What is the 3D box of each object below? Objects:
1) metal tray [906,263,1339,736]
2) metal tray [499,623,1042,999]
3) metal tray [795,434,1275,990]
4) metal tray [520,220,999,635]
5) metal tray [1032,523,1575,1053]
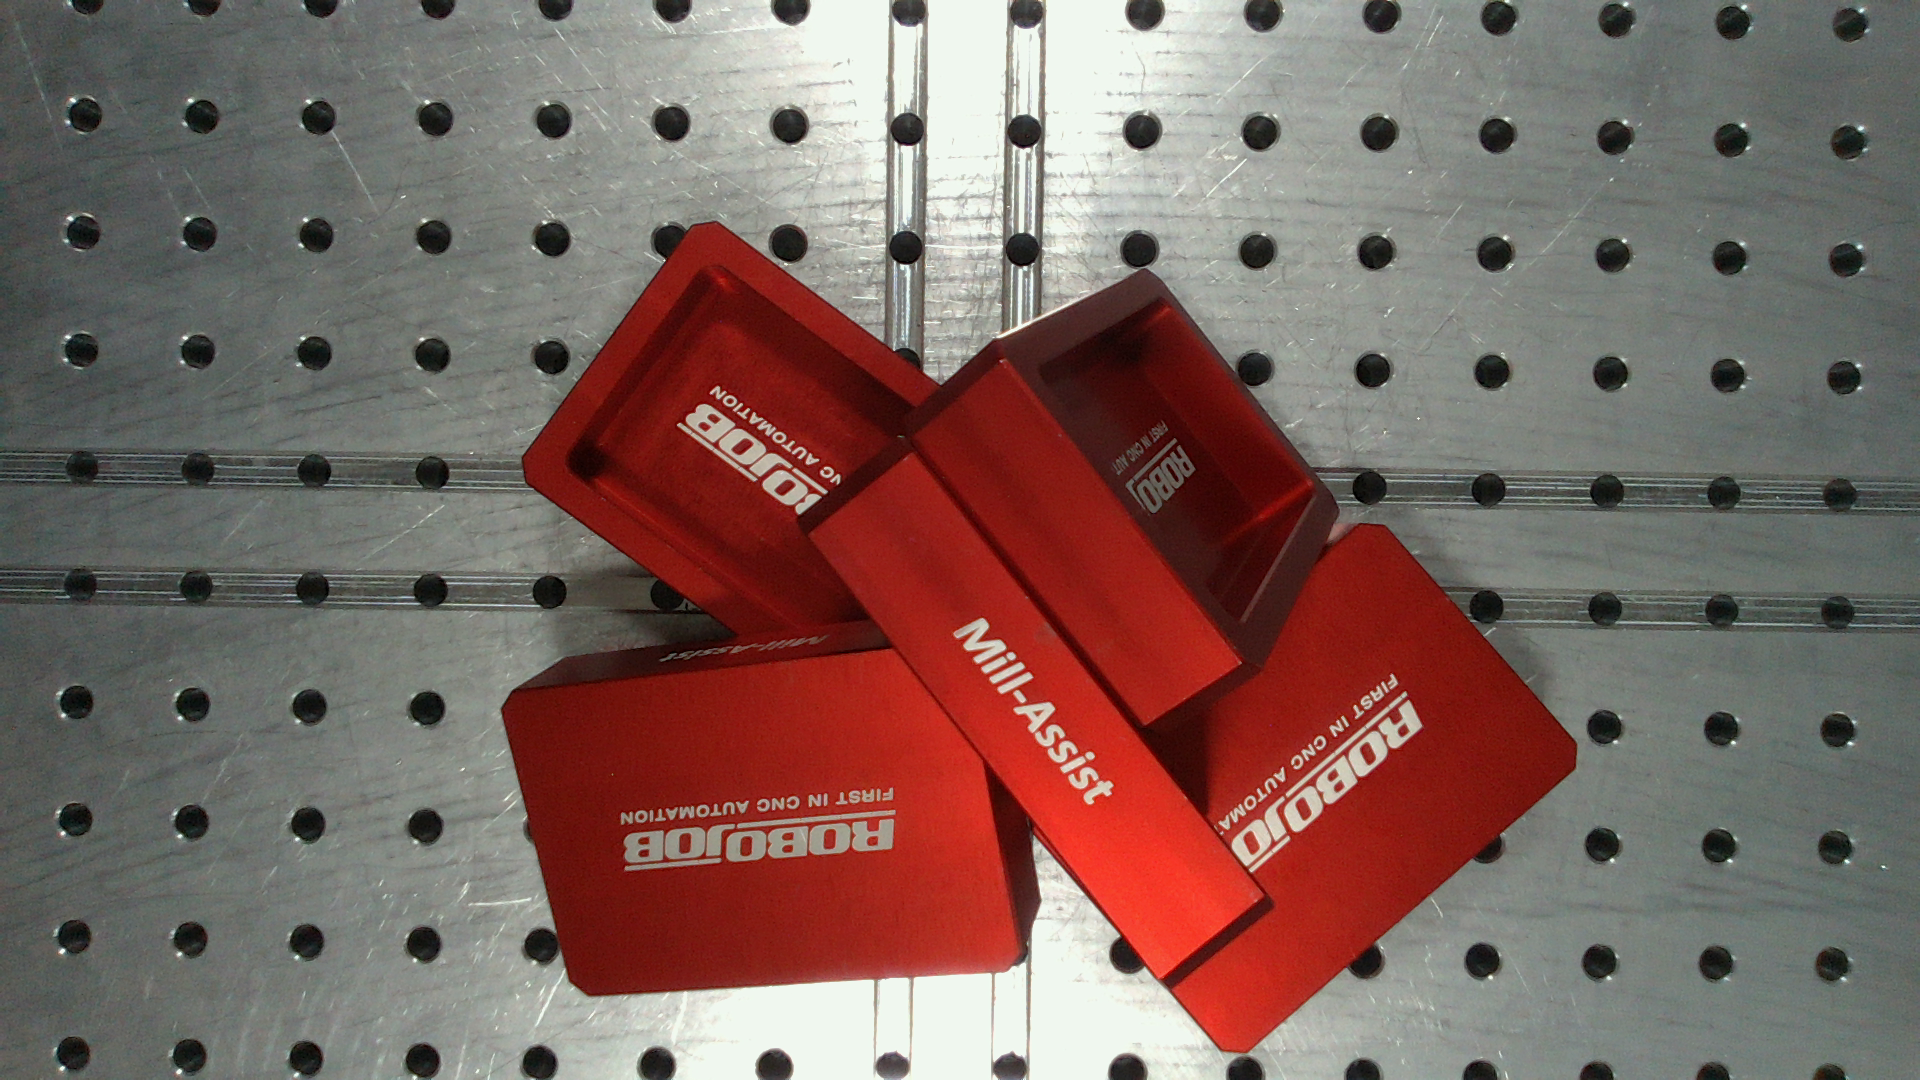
[{"bbox_3d":[0.048,-0.018,0.346,0.030,0.130,0.090,-38,90,29],"label":"metal tray"},{"bbox_3d":[-0.050,0.073,0.371,0.130,0.030,0.090,-8,101,15],"label":"metal tray"},{"bbox_3d":[0.016,0.037,0.335,0.030,0.090,0.130,-38,90,0],"label":"metal tray"},{"bbox_3d":[-0.045,-0.017,0.395,0.130,0.030,0.090,36,90,0],"label":"metal tray"},{"bbox_3d":[0.095,0.069,0.395,0.130,0.030,0.090,-41,90,0],"label":"metal tray"}]
